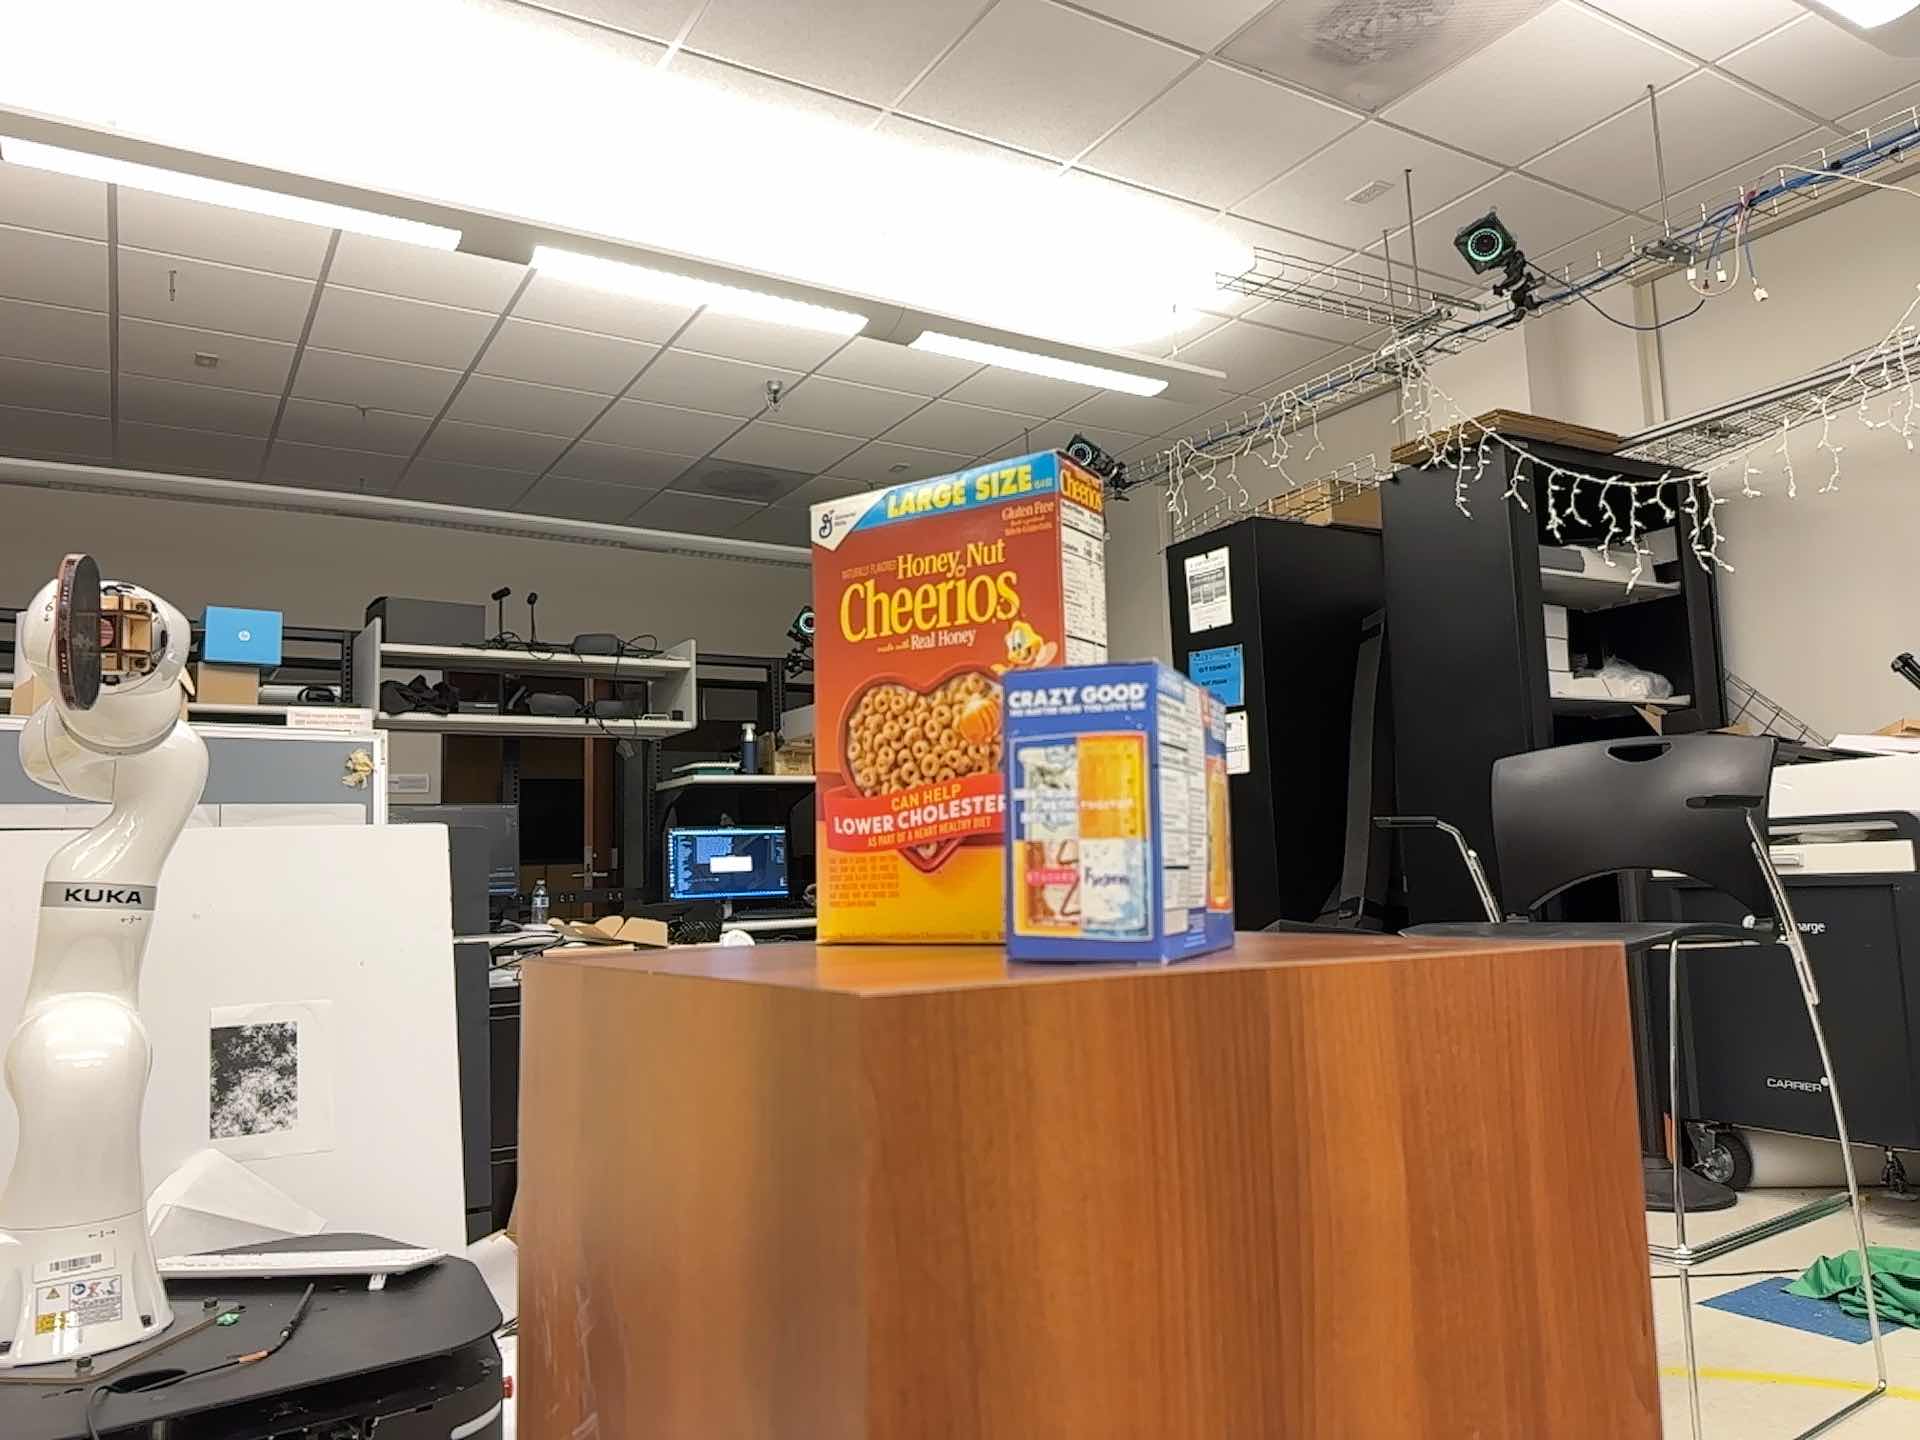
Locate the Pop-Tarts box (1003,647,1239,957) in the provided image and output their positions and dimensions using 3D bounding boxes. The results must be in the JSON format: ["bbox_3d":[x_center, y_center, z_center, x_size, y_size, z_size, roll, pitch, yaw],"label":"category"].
[{"bbox_3d":[0.085,0.048,0.688,0.075,0.135,0.161,-4,-9,20],"label":"Pop-Tarts box"}]

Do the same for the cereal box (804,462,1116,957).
[{"bbox_3d":[-0.005,0.000,0.894,0.195,0.297,0.065,-6,-10,29],"label":"cereal box"}]
